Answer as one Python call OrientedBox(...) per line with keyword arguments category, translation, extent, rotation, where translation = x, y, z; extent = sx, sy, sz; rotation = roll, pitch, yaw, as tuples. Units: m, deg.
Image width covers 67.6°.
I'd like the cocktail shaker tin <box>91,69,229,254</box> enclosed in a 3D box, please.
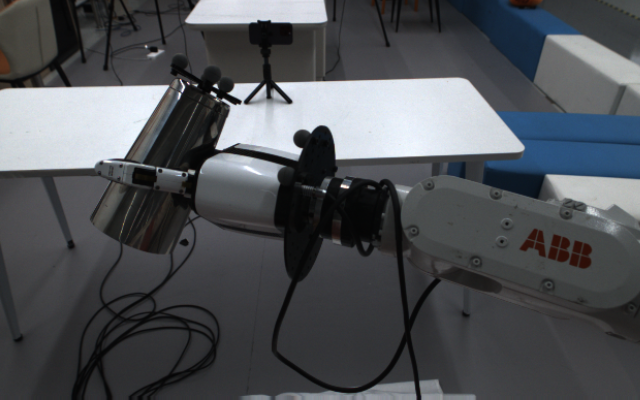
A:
OrientedBox(category="cocktail shaker tin", translation=(-0.162, -0.040, 0.518), extent=(0.093, 0.170, 0.093), rotation=(27, 2, -1))
